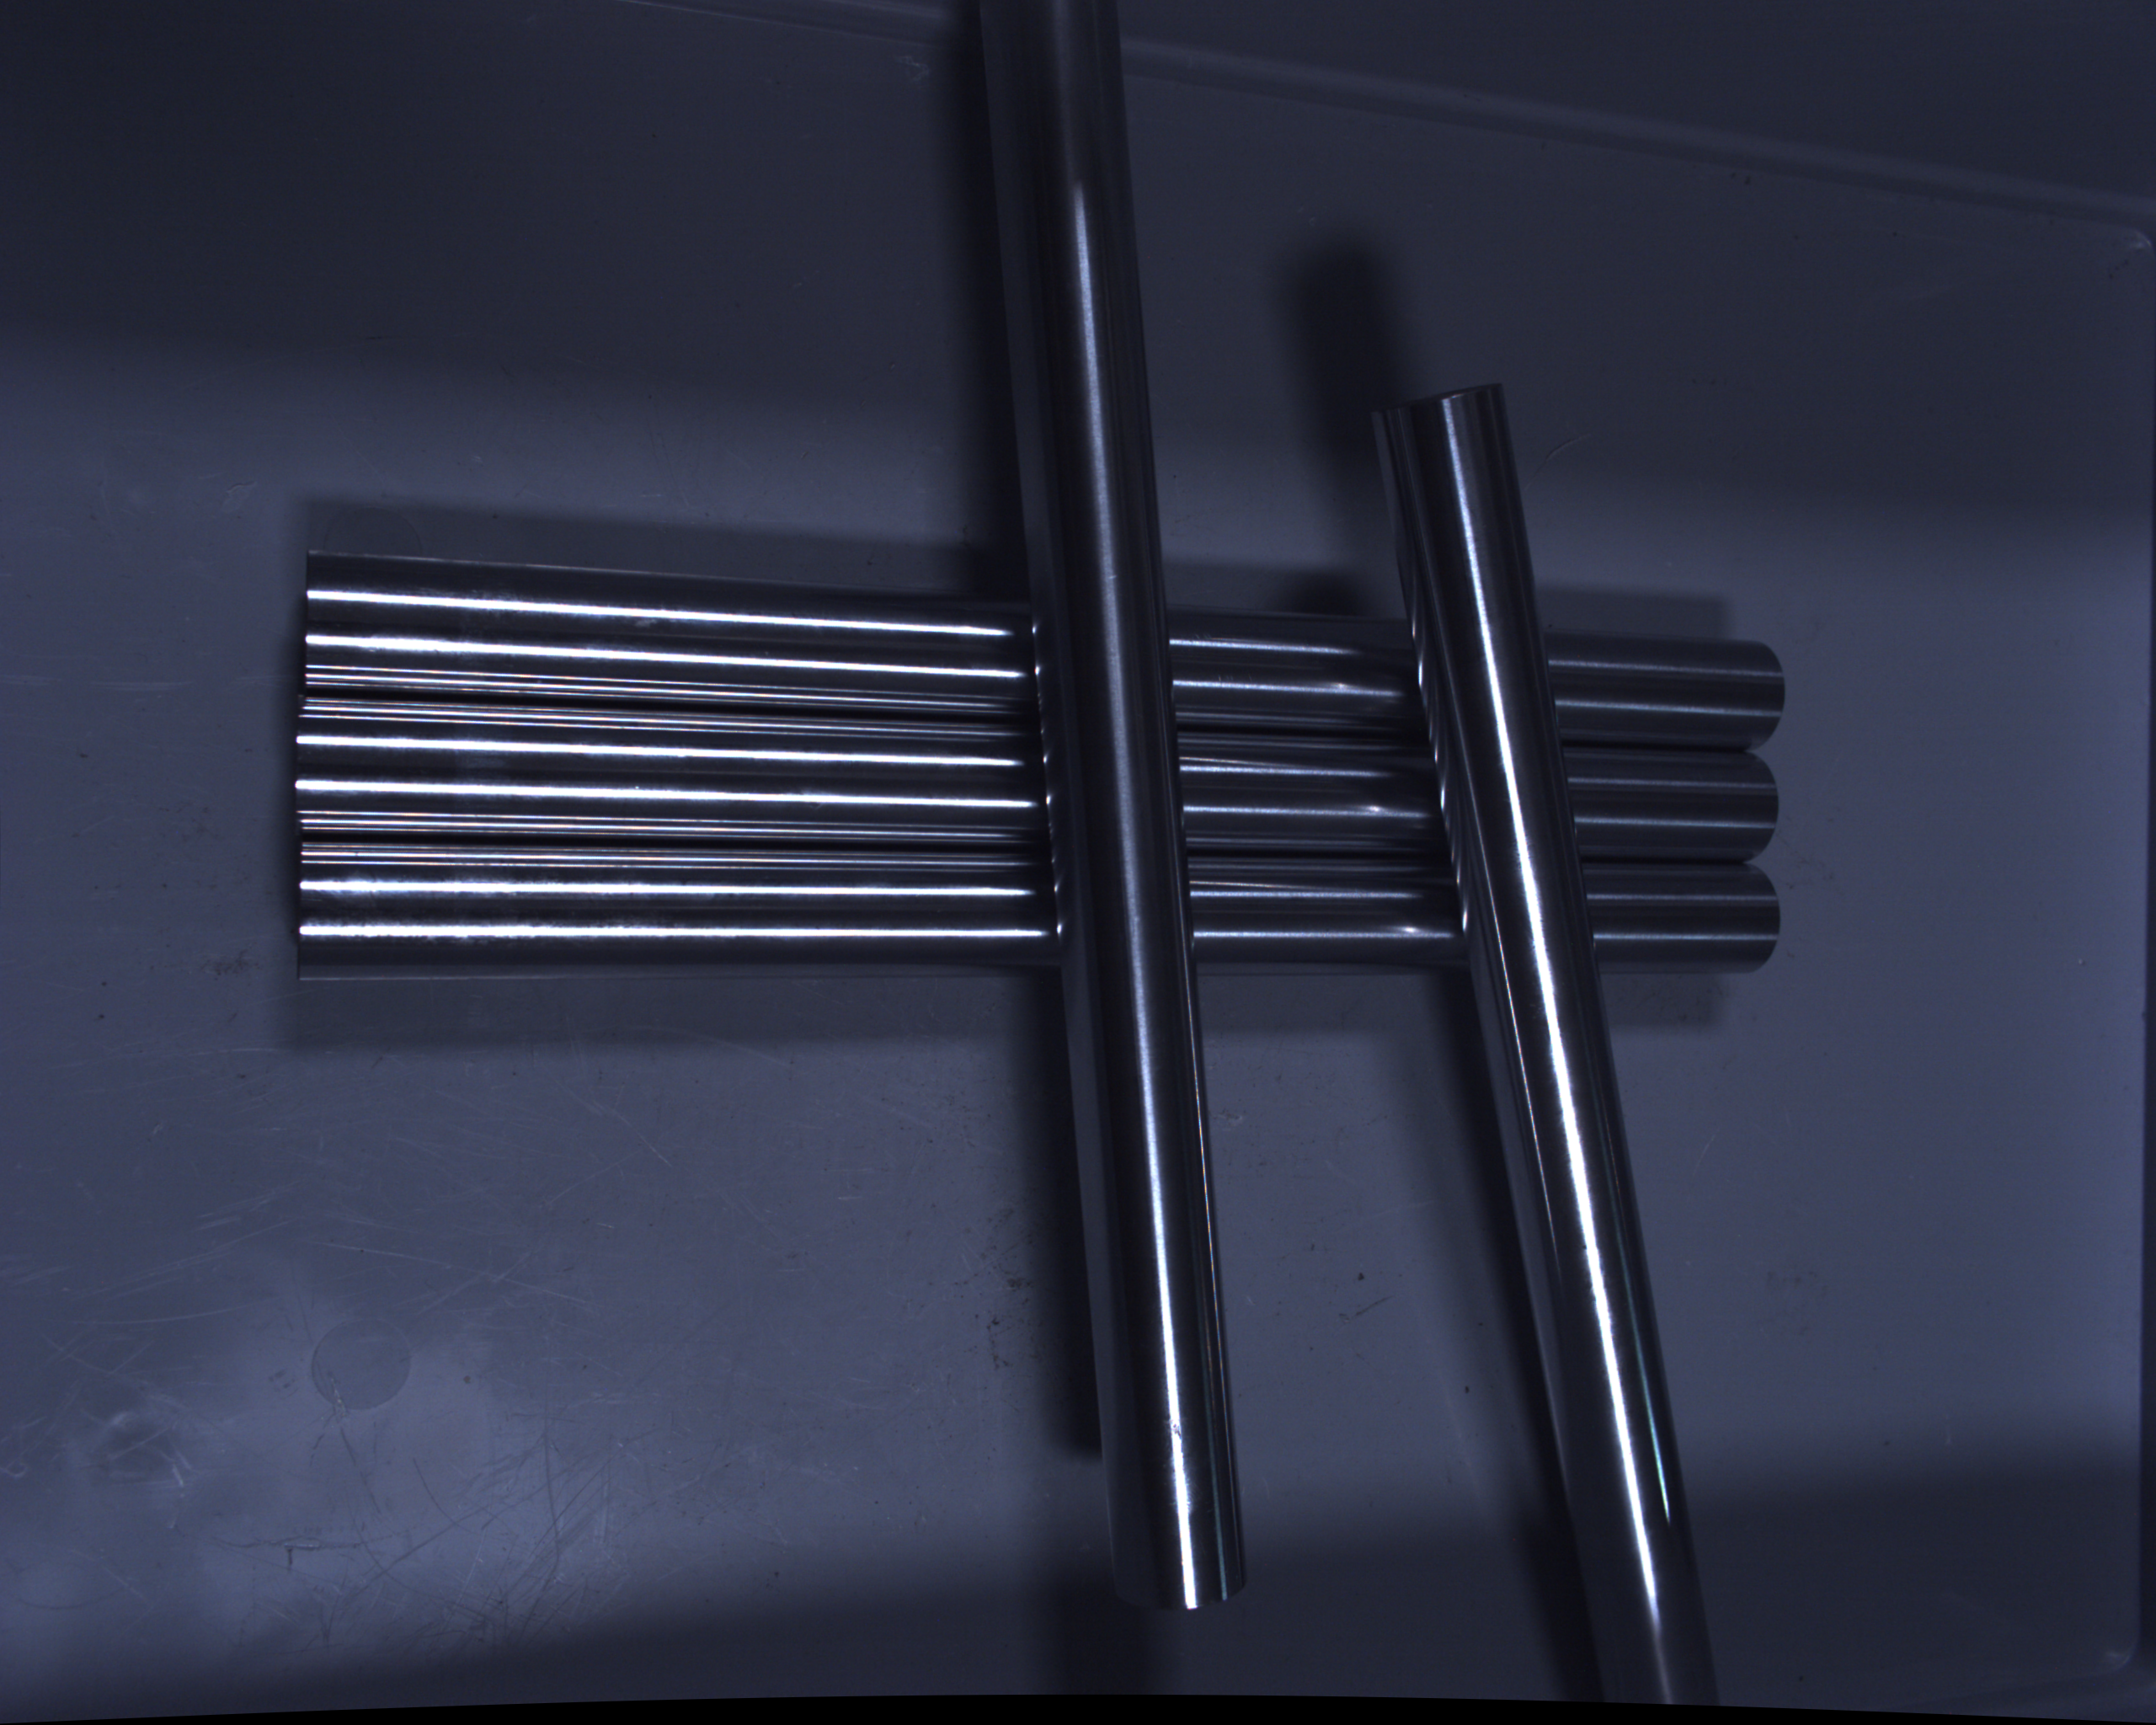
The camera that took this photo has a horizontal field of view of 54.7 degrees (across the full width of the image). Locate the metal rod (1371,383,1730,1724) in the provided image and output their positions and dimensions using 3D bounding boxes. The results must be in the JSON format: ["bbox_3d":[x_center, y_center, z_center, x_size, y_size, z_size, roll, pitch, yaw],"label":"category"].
[{"bbox_3d":[0.100,0.054,0.426,0.025,0.025,0.298,-17,103,-20],"label":"metal rod"}]

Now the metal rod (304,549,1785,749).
[{"bbox_3d":[0.008,-0.040,0.413,0.303,0.025,0.025,1,90,-21],"label":"metal rod"}]

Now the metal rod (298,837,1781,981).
[{"bbox_3d":[0.007,0.010,0.413,0.303,0.025,0.025,1,90,-21],"label":"metal rod"}]

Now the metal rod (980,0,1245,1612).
[{"bbox_3d":[0.007,-0.013,0.386,0.025,0.025,0.298,-5,92,-20],"label":"metal rod"}]

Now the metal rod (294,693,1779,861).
[{"bbox_3d":[0.007,-0.015,0.413,0.303,0.025,0.025,1,90,-21],"label":"metal rod"}]
